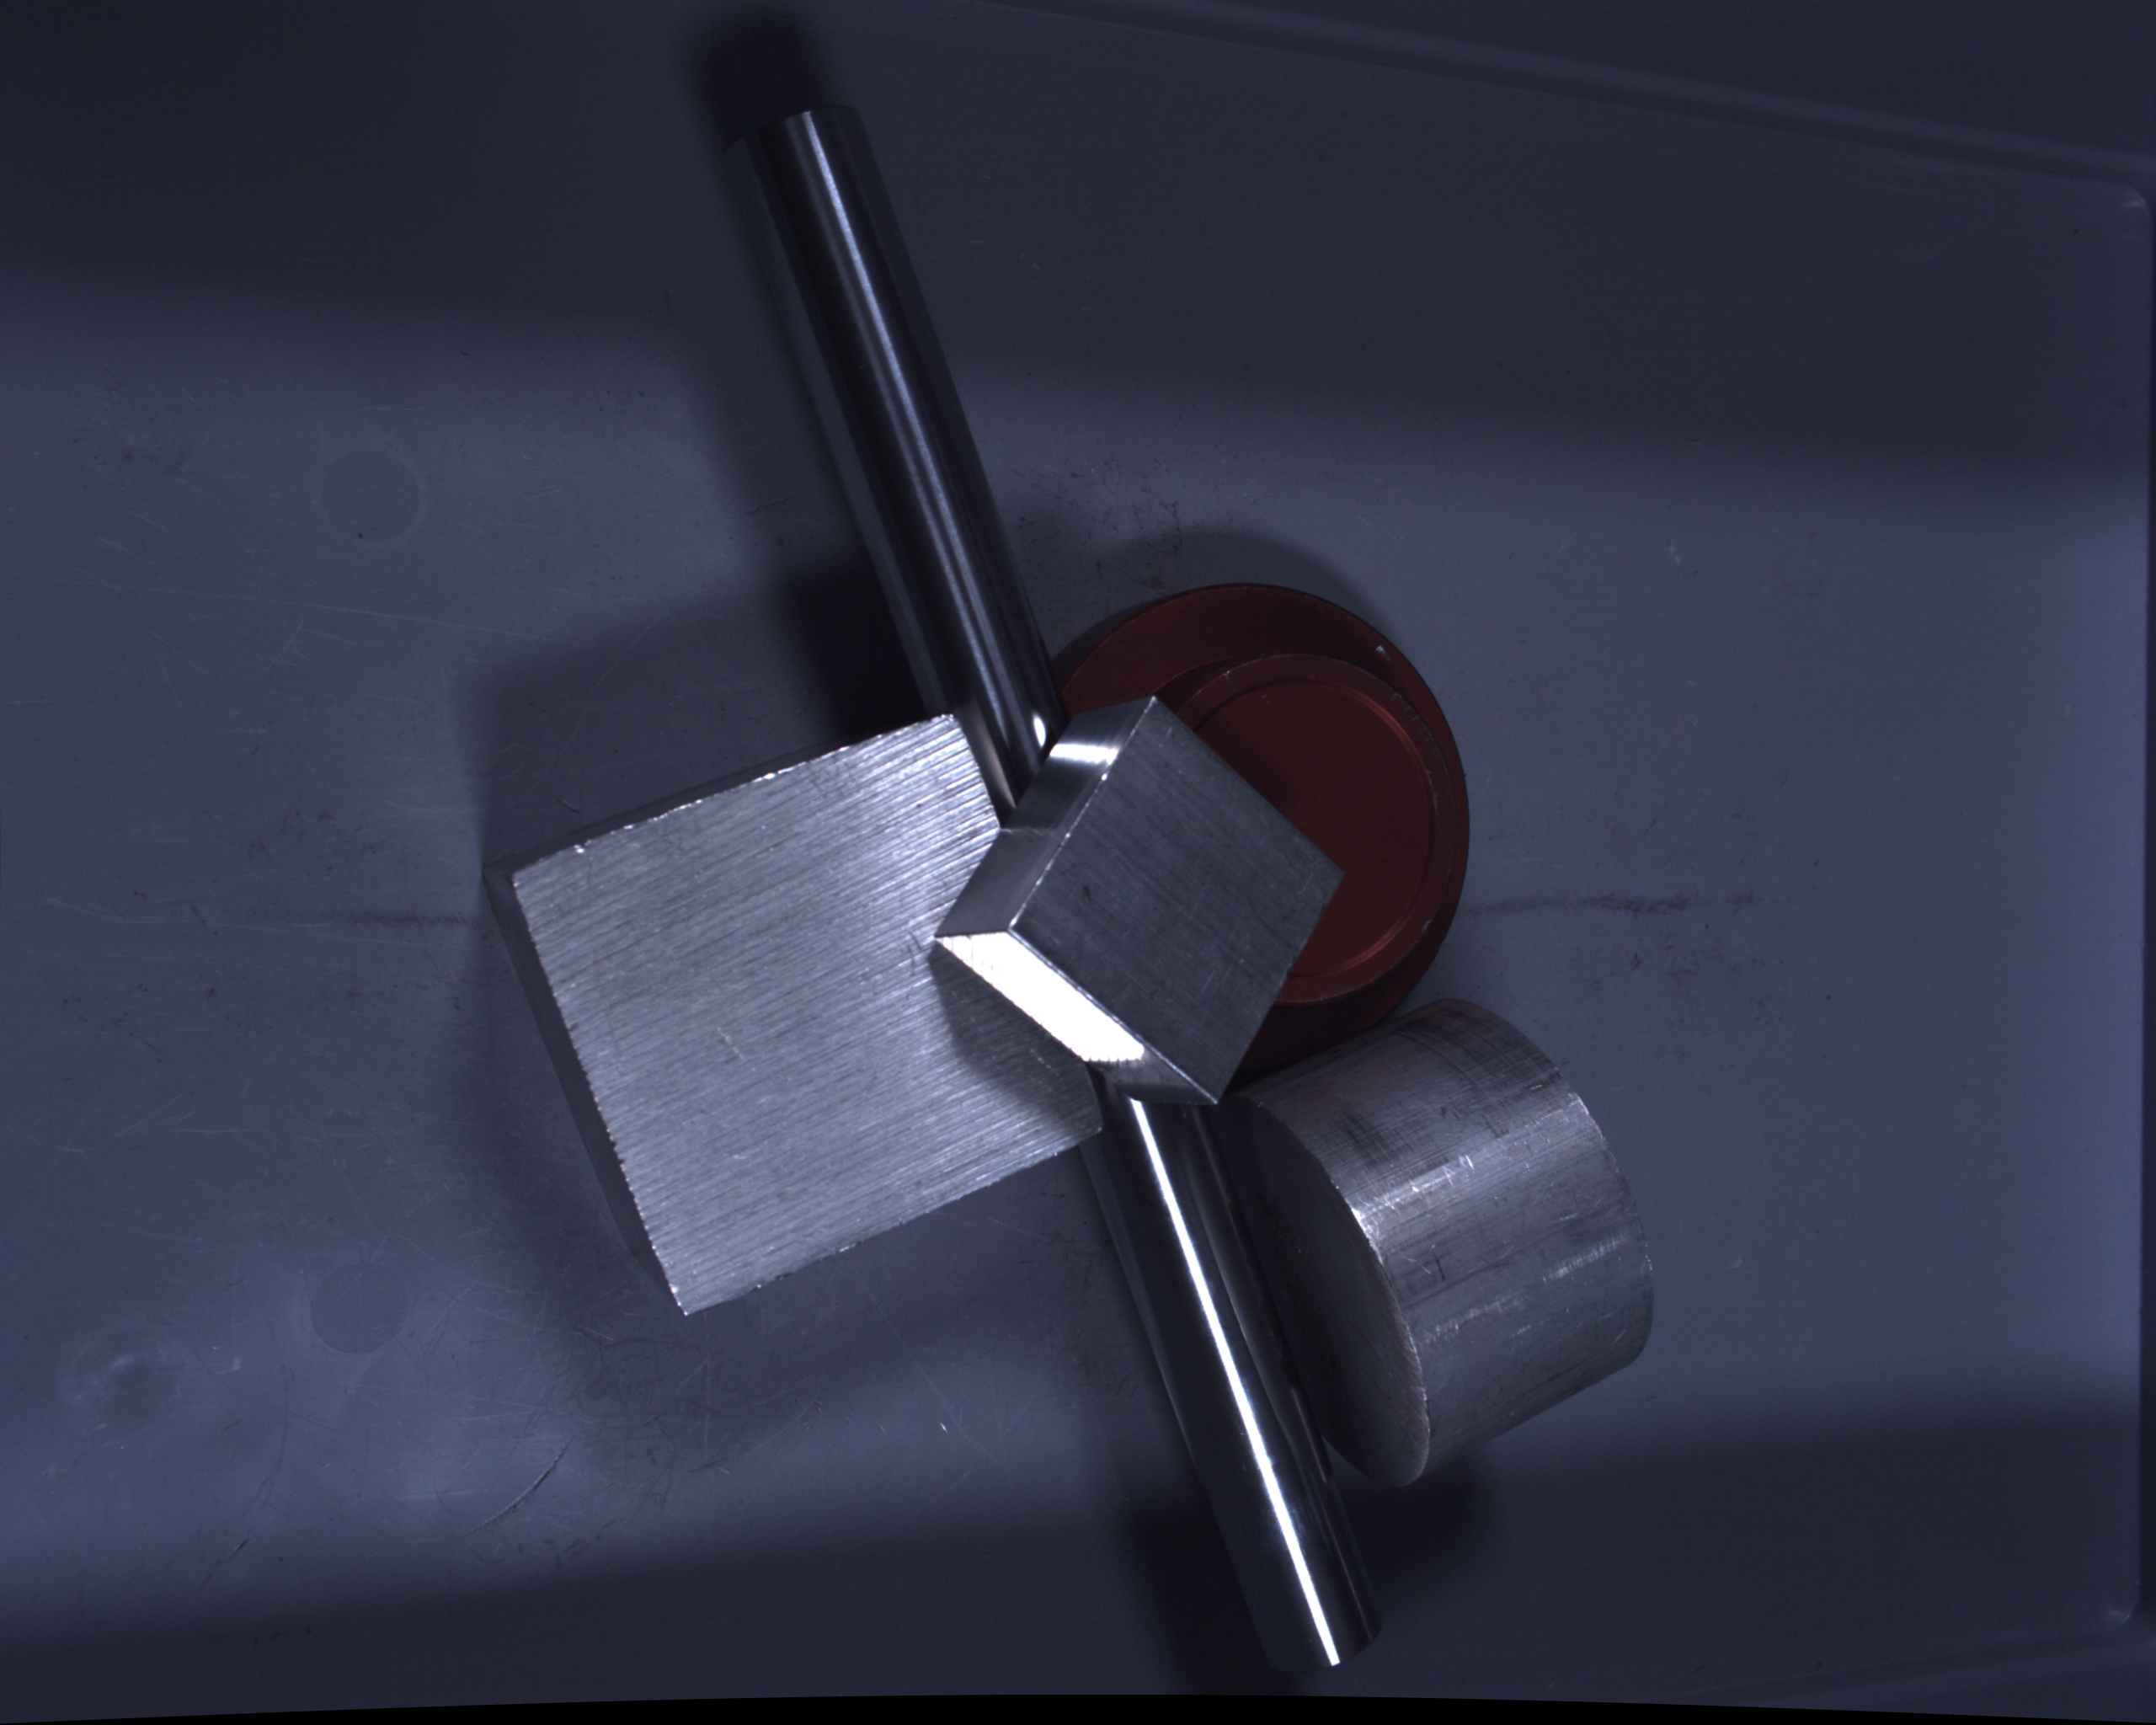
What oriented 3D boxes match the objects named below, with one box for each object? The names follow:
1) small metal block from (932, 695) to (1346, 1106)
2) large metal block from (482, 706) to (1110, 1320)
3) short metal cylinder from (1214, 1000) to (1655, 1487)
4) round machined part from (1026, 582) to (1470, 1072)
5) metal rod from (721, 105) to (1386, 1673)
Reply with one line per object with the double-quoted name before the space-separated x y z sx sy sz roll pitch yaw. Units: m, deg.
"small metal block" 0.011 0.007 0.363 0.050 0.025 0.050 41 65 -23
"large metal block" -0.052 0.024 0.375 0.081 0.050 0.080 -22 98 -19
"short metal cylinder" 0.065 0.073 0.405 0.050 0.080 0.080 -22 98 -19
"round machined part" 0.035 -0.007 0.413 0.099 0.042 0.097 0 90 -21
"metal rod" -0.002 0.011 0.387 0.025 0.025 0.298 -22 98 -19
